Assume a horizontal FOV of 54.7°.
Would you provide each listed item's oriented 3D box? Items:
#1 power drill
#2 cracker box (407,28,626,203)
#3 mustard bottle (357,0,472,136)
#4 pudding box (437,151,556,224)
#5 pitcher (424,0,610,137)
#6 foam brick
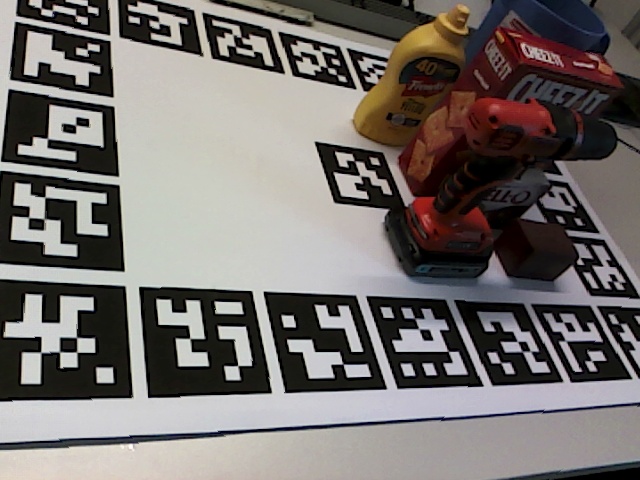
[{"bbox_3d":[0.200,-0.059,0.645,0.183,0.187,0.057,3,49,-28],"label":"power drill"},{"bbox_3d":[0.230,-0.134,0.749,0.163,0.214,0.072,1,51,-26],"label":"cracker box"},{"bbox_3d":[0.128,-0.217,0.772,0.096,0.192,0.058,15,48,-18],"label":"mustard bottle"},{"bbox_3d":[0.213,-0.064,0.756,0.113,0.090,0.039,3,50,-24],"label":"pudding box"},{"bbox_3d":[0.250,-0.216,0.824,0.188,0.243,0.134,8,50,-21],"label":"pitcher"},{"bbox_3d":[0.265,0.011,0.768,0.077,0.051,0.053,6,52,-25],"label":"foam brick"}]
